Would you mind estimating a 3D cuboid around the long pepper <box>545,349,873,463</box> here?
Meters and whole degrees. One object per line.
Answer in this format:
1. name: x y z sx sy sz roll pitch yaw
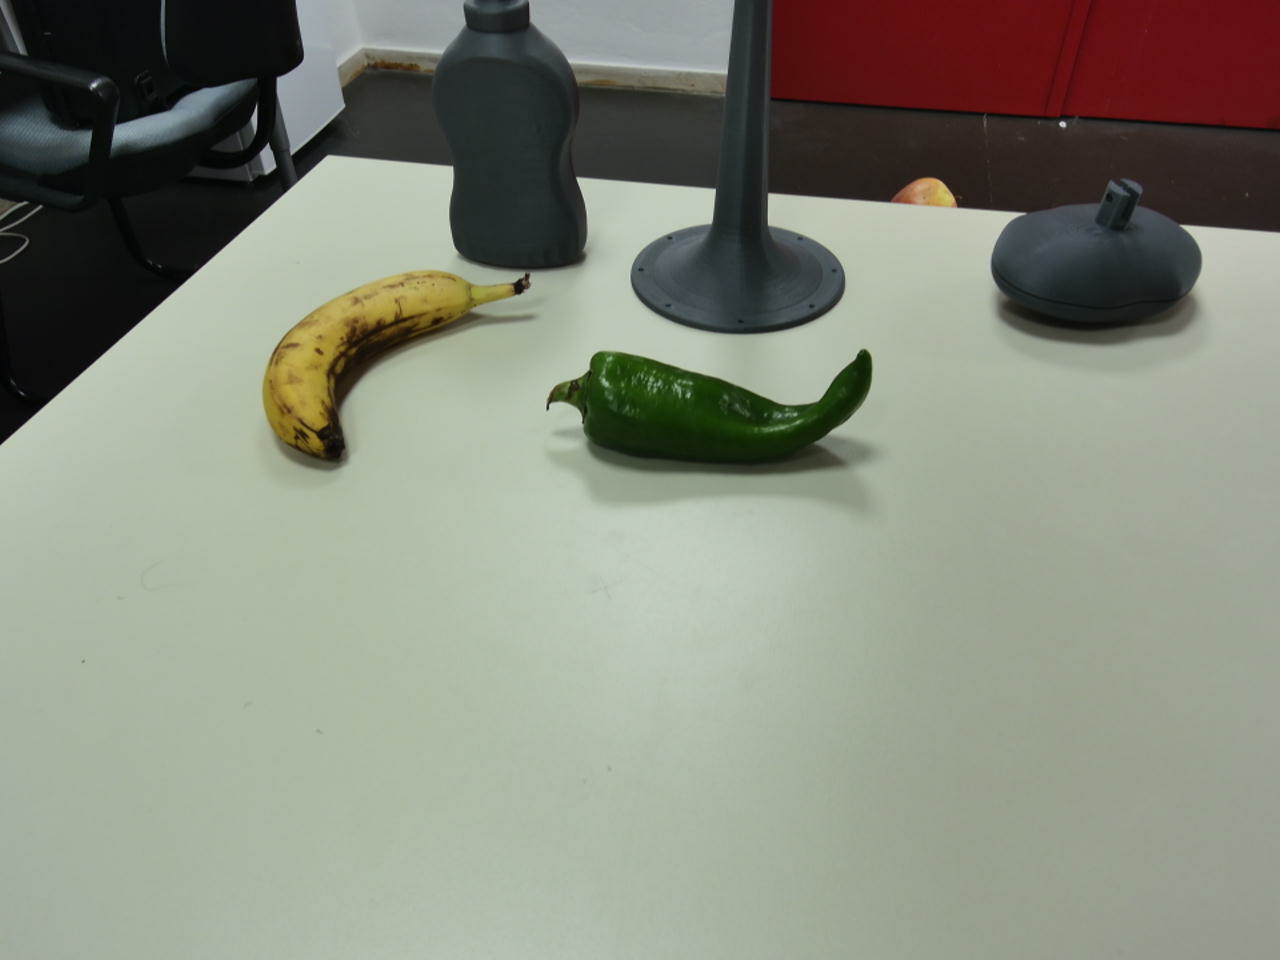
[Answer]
1. long pepper: 0.034 -0.044 0.539 0.175 0.065 0.058 7 39 9
